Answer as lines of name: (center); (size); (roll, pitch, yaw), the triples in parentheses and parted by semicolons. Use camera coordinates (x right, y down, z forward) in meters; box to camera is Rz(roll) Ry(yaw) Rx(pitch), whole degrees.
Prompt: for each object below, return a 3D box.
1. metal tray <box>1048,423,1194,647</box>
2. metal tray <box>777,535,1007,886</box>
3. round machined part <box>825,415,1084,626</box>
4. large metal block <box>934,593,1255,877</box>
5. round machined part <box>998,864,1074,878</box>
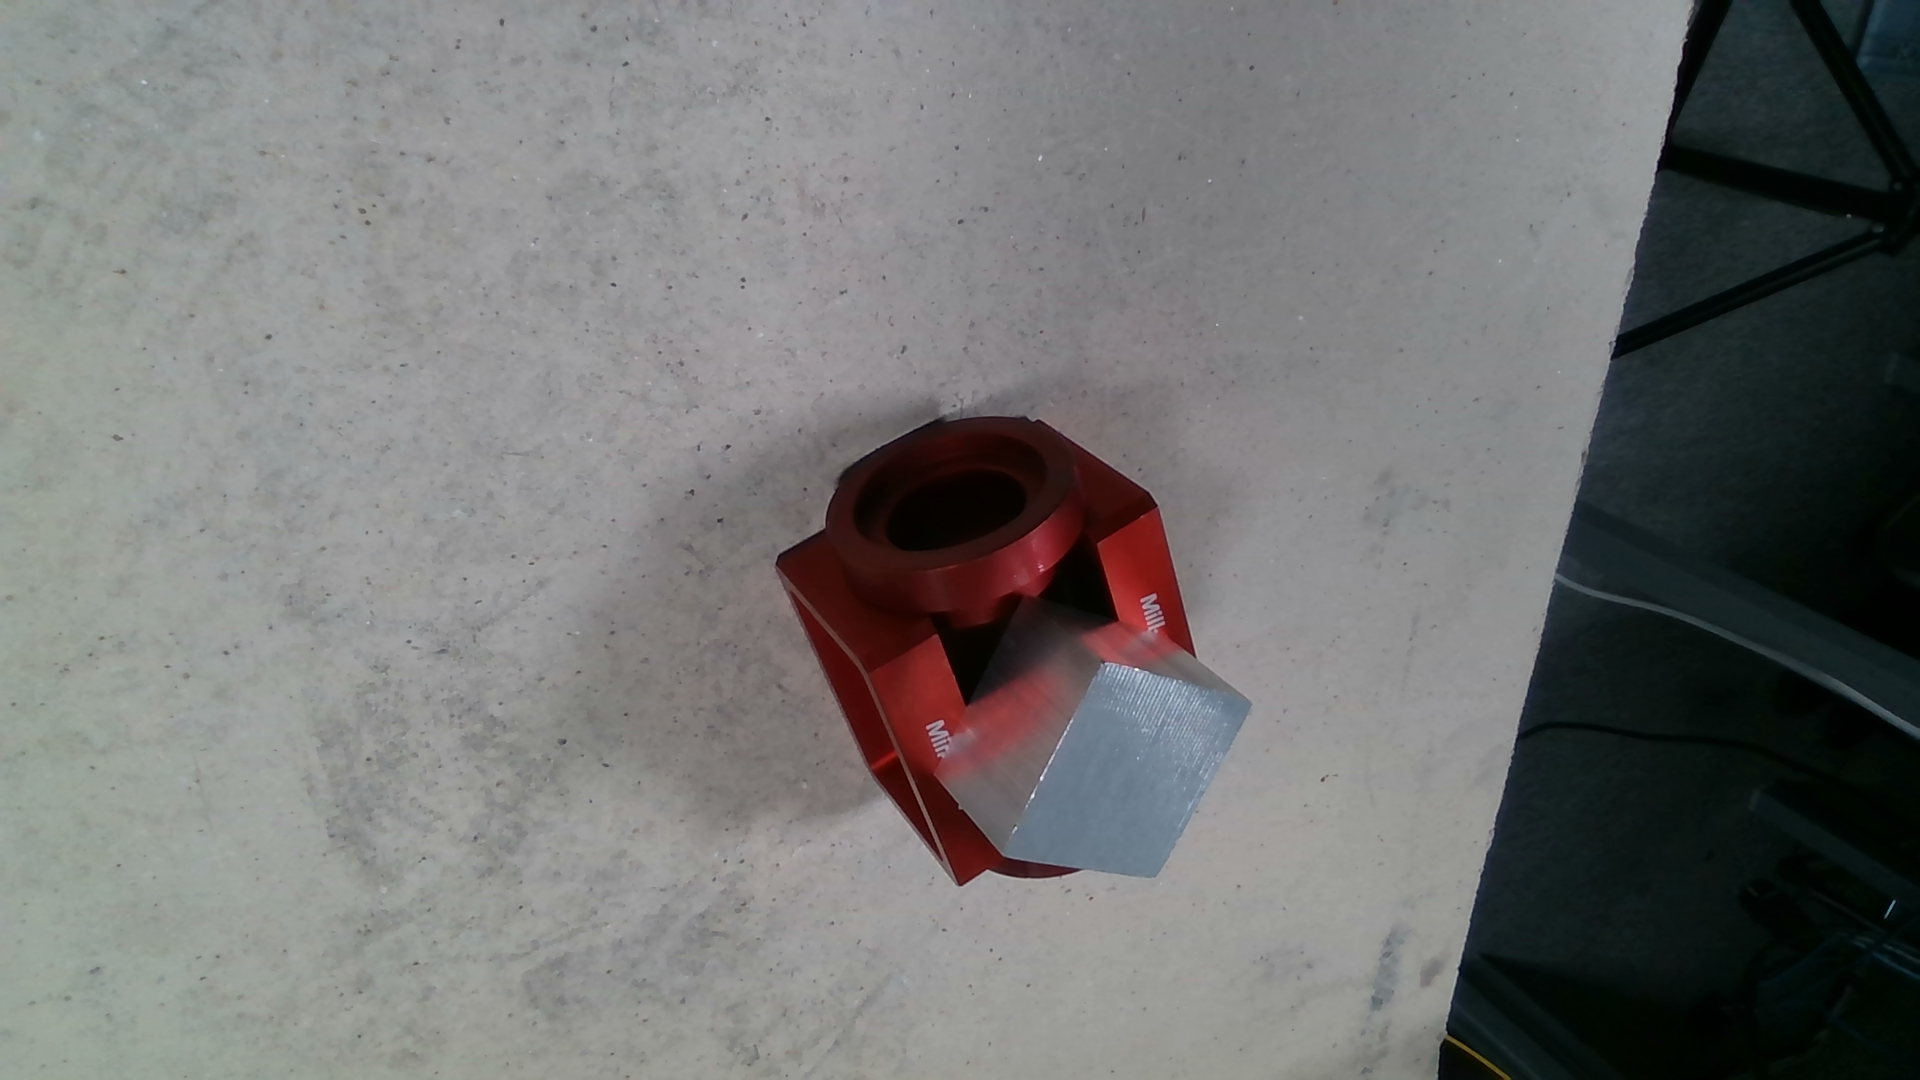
metal tray: (0.058, 0.021, 0.587); (0.030, 0.090, 0.130); (-31, 127, -14)
metal tray: (-0.025, 0.068, 0.559); (0.030, 0.090, 0.130); (-30, 127, -15)
round machined part: (0.001, -0.004, 0.532); (0.098, 0.098, 0.042); (-28, 126, -16)
large metal block: (0.050, 0.075, 0.517); (0.080, 0.050, 0.080); (17, 105, -37)
round machined part: (0.036, 0.097, 0.608); (0.098, 0.098, 0.042); (-28, 126, -16)
